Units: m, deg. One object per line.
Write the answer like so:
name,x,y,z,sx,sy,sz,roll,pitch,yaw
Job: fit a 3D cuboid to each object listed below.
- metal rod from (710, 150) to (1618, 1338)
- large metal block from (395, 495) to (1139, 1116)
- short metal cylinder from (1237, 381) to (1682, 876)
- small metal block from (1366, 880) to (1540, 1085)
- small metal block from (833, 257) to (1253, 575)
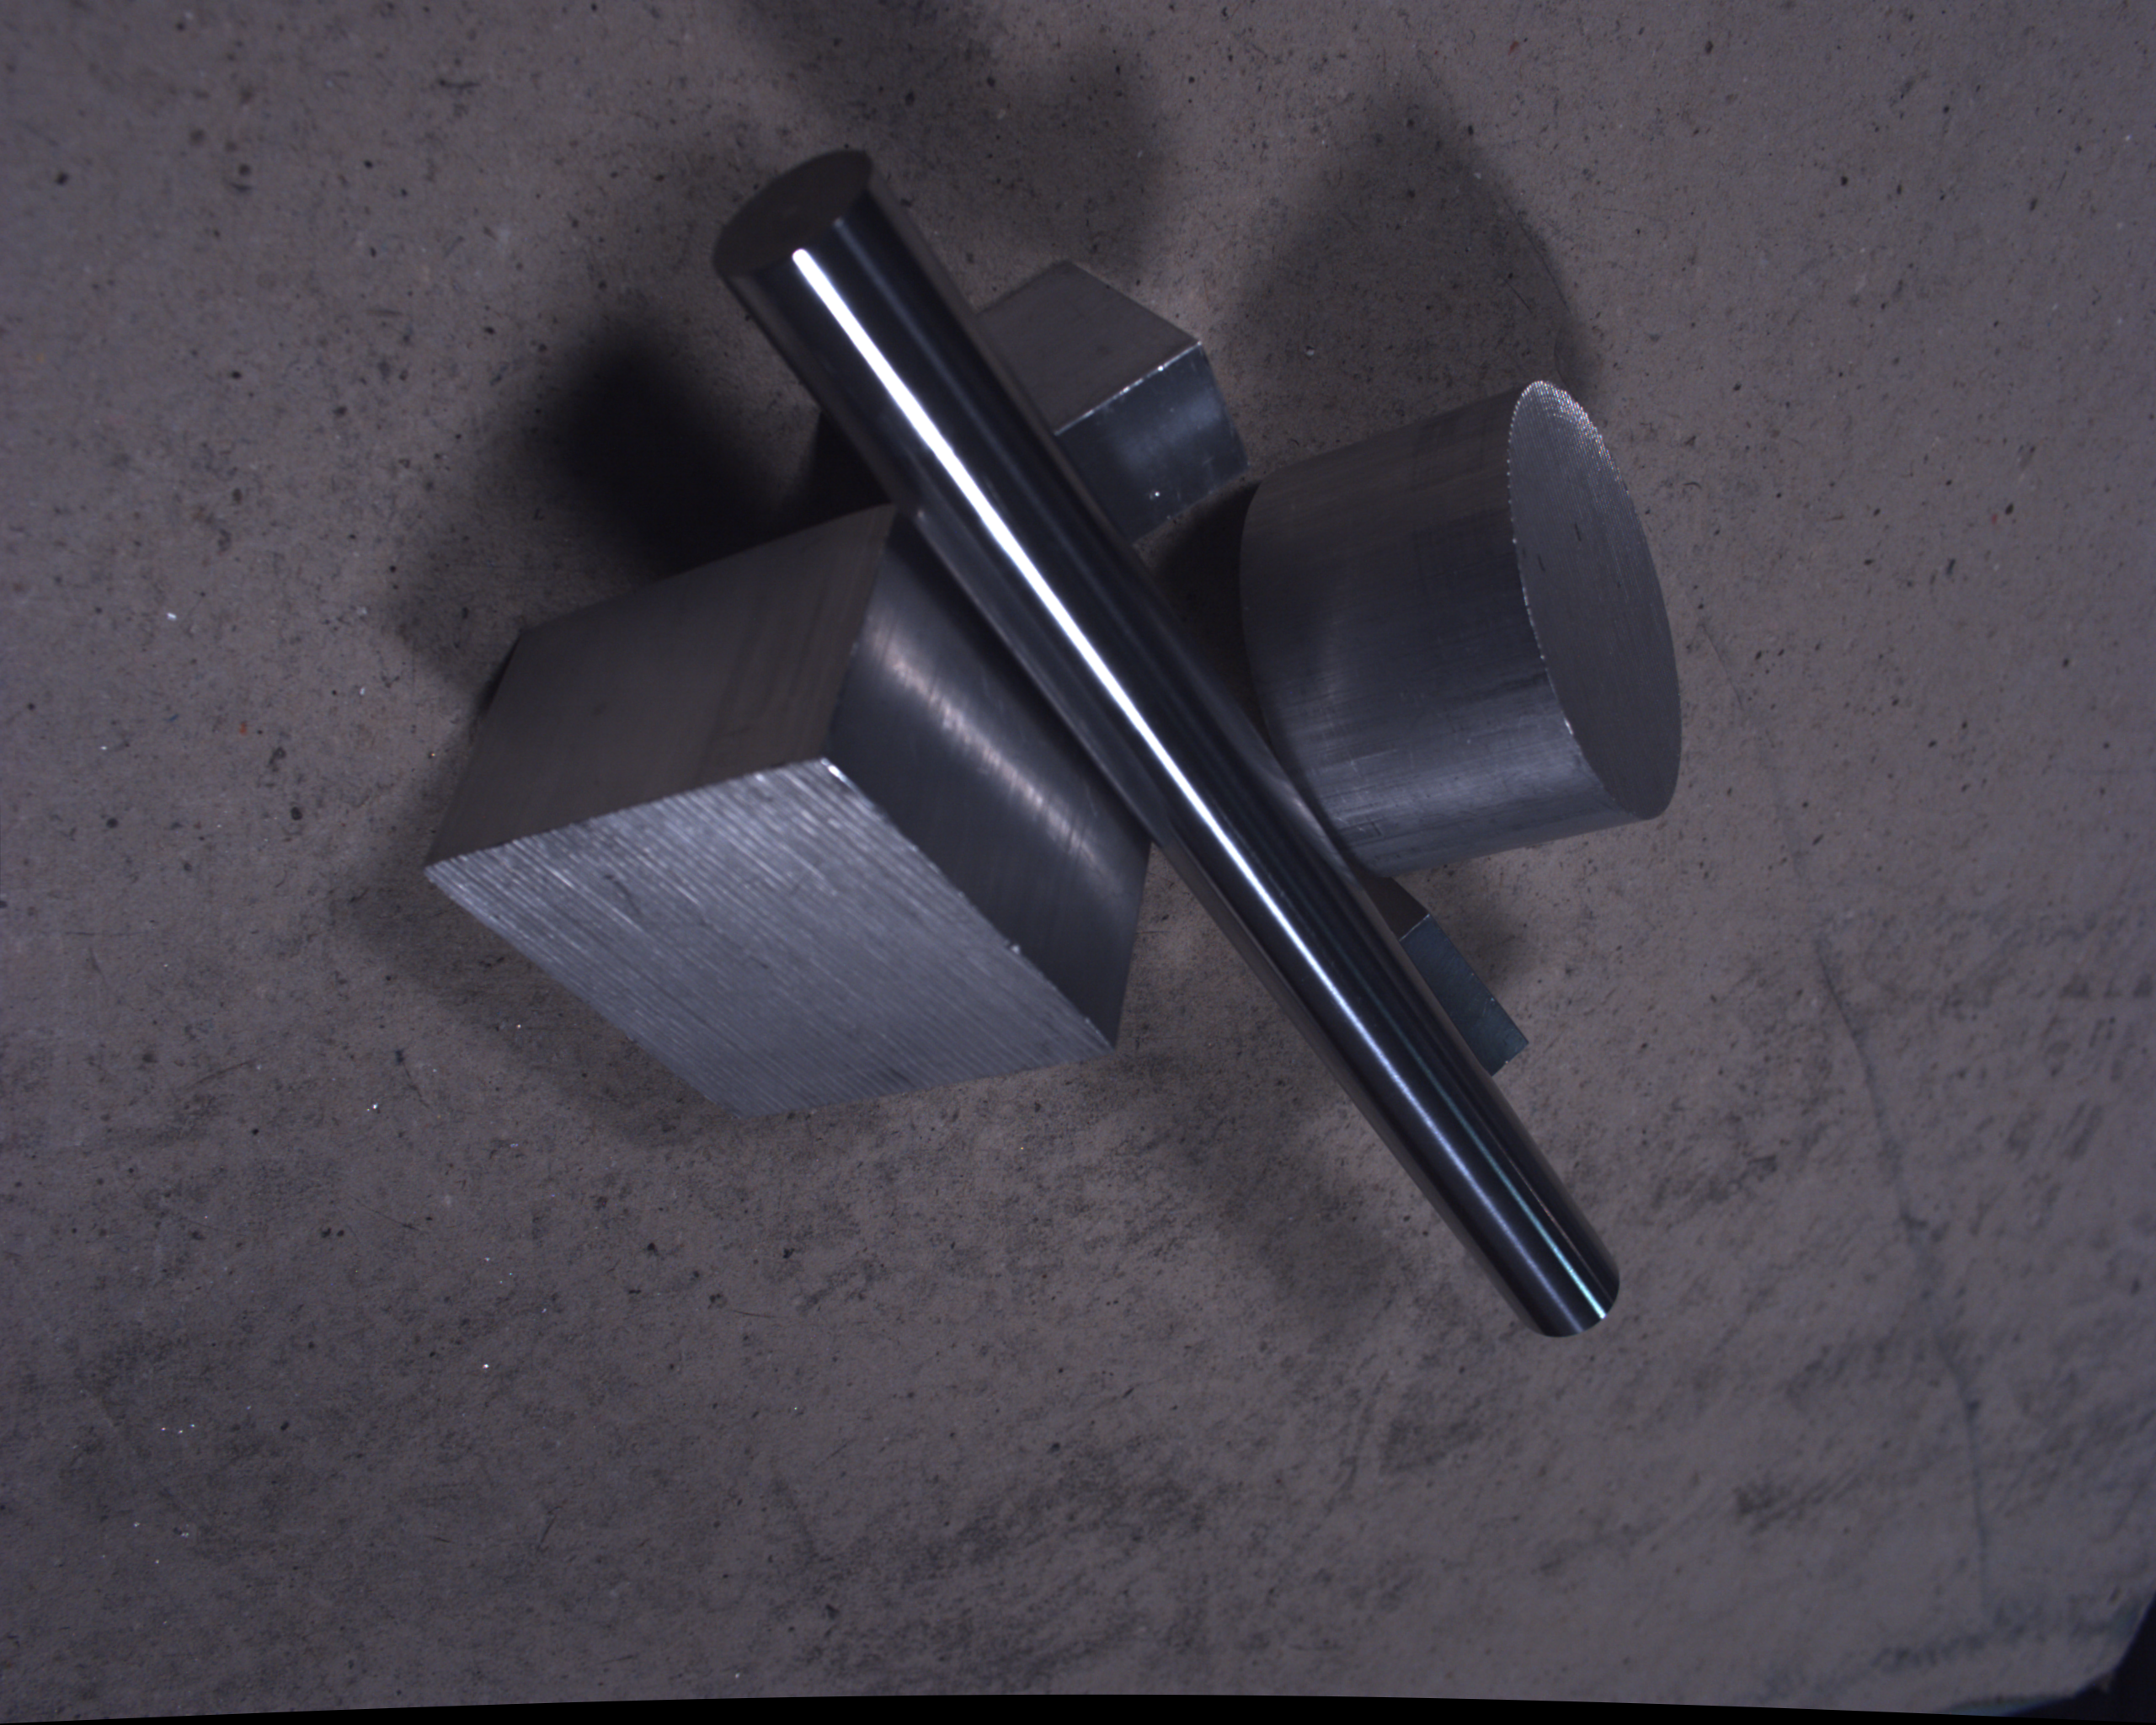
metal rod,0.035,0.005,0.367,0.025,0.025,0.300,-40,130,-1
large metal block,-0.047,-0.005,0.342,0.080,0.050,0.080,-13,138,30
short metal cylinder,0.071,-0.041,0.380,0.050,0.080,0.080,-14,139,32
small metal block,0.064,0.021,0.438,0.025,0.050,0.050,-42,130,0
small metal block,-0.008,-0.071,0.346,0.050,0.050,0.025,-34,129,-7
